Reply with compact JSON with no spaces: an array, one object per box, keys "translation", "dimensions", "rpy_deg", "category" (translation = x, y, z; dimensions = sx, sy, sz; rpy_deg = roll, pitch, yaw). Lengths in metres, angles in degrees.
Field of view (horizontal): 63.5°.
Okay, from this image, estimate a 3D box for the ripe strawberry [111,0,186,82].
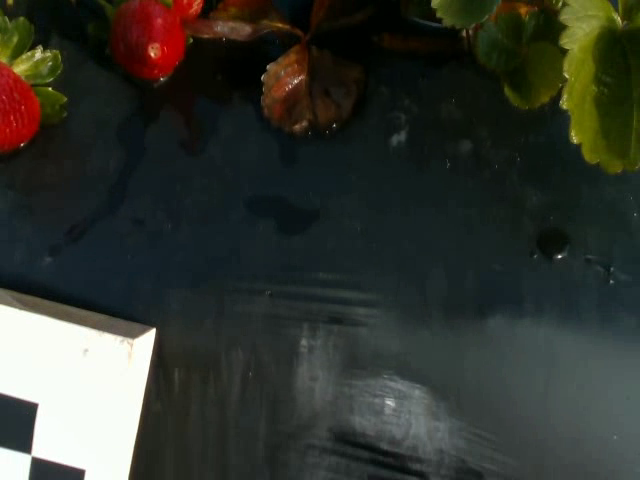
[{"translation":[-0.088,-0.099,0.258],"dimensions":[0.041,0.045,0.055],"rpy_deg":[30,15,-36],"category":"ripe strawberry"}]
